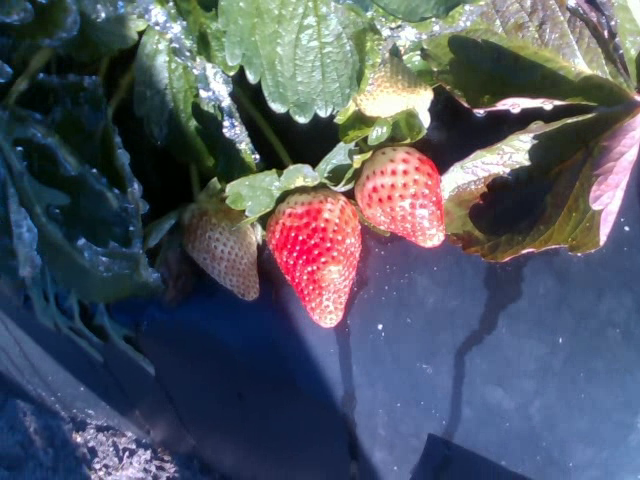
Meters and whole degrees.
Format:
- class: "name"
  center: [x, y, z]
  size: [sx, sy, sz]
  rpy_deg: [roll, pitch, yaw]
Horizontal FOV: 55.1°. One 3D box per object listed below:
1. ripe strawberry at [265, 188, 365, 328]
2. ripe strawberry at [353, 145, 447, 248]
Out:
- class: "ripe strawberry"
  center: [0.001, 0.010, 0.221]
  size: [0.036, 0.052, 0.039]
  rpy_deg: [-17, -13, 36]
- class: "ripe strawberry"
  center: [0.031, -0.014, 0.211]
  size: [0.036, 0.041, 0.030]
  rpy_deg: [-48, -1, 43]
